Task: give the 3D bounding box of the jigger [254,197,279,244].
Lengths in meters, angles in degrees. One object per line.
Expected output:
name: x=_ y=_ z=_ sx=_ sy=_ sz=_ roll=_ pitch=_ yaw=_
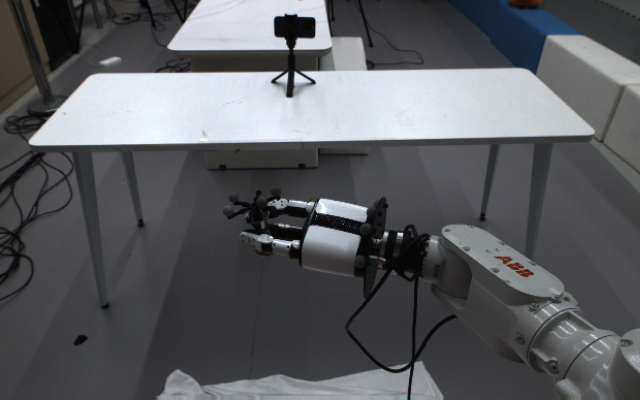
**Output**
jigger: x=-0.092 y=0.052 z=0.786 sx=0.043 sy=0.071 sz=0.043 roll=-10 pitch=32 yaw=6
